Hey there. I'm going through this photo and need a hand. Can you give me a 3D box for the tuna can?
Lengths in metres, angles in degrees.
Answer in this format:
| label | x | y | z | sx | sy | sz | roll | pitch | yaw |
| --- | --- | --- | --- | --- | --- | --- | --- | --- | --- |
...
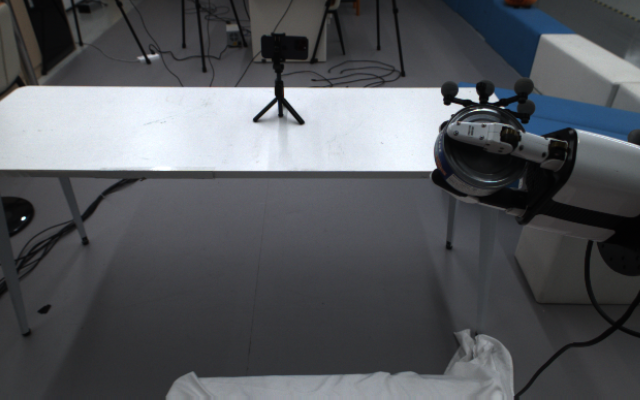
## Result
| label | x | y | z | sx | sy | sz | roll | pitch | yaw |
| --- | --- | --- | --- | --- | --- | --- | --- | --- | --- |
| tuna can | 0.159 | -0.054 | 0.476 | 0.085 | 0.034 | 0.085 | 1 | 72 | -4 |
